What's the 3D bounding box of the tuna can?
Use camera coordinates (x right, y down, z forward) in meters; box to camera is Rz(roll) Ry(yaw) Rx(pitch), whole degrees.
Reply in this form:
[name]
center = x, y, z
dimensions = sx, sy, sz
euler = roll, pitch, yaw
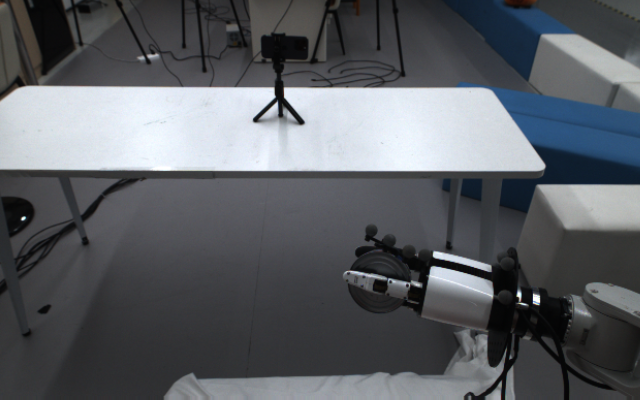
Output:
[tuna can]
center = 0.086, 0.111, 0.669
dimensions = 0.085, 0.085, 0.034
euler = 14, 2, 16
